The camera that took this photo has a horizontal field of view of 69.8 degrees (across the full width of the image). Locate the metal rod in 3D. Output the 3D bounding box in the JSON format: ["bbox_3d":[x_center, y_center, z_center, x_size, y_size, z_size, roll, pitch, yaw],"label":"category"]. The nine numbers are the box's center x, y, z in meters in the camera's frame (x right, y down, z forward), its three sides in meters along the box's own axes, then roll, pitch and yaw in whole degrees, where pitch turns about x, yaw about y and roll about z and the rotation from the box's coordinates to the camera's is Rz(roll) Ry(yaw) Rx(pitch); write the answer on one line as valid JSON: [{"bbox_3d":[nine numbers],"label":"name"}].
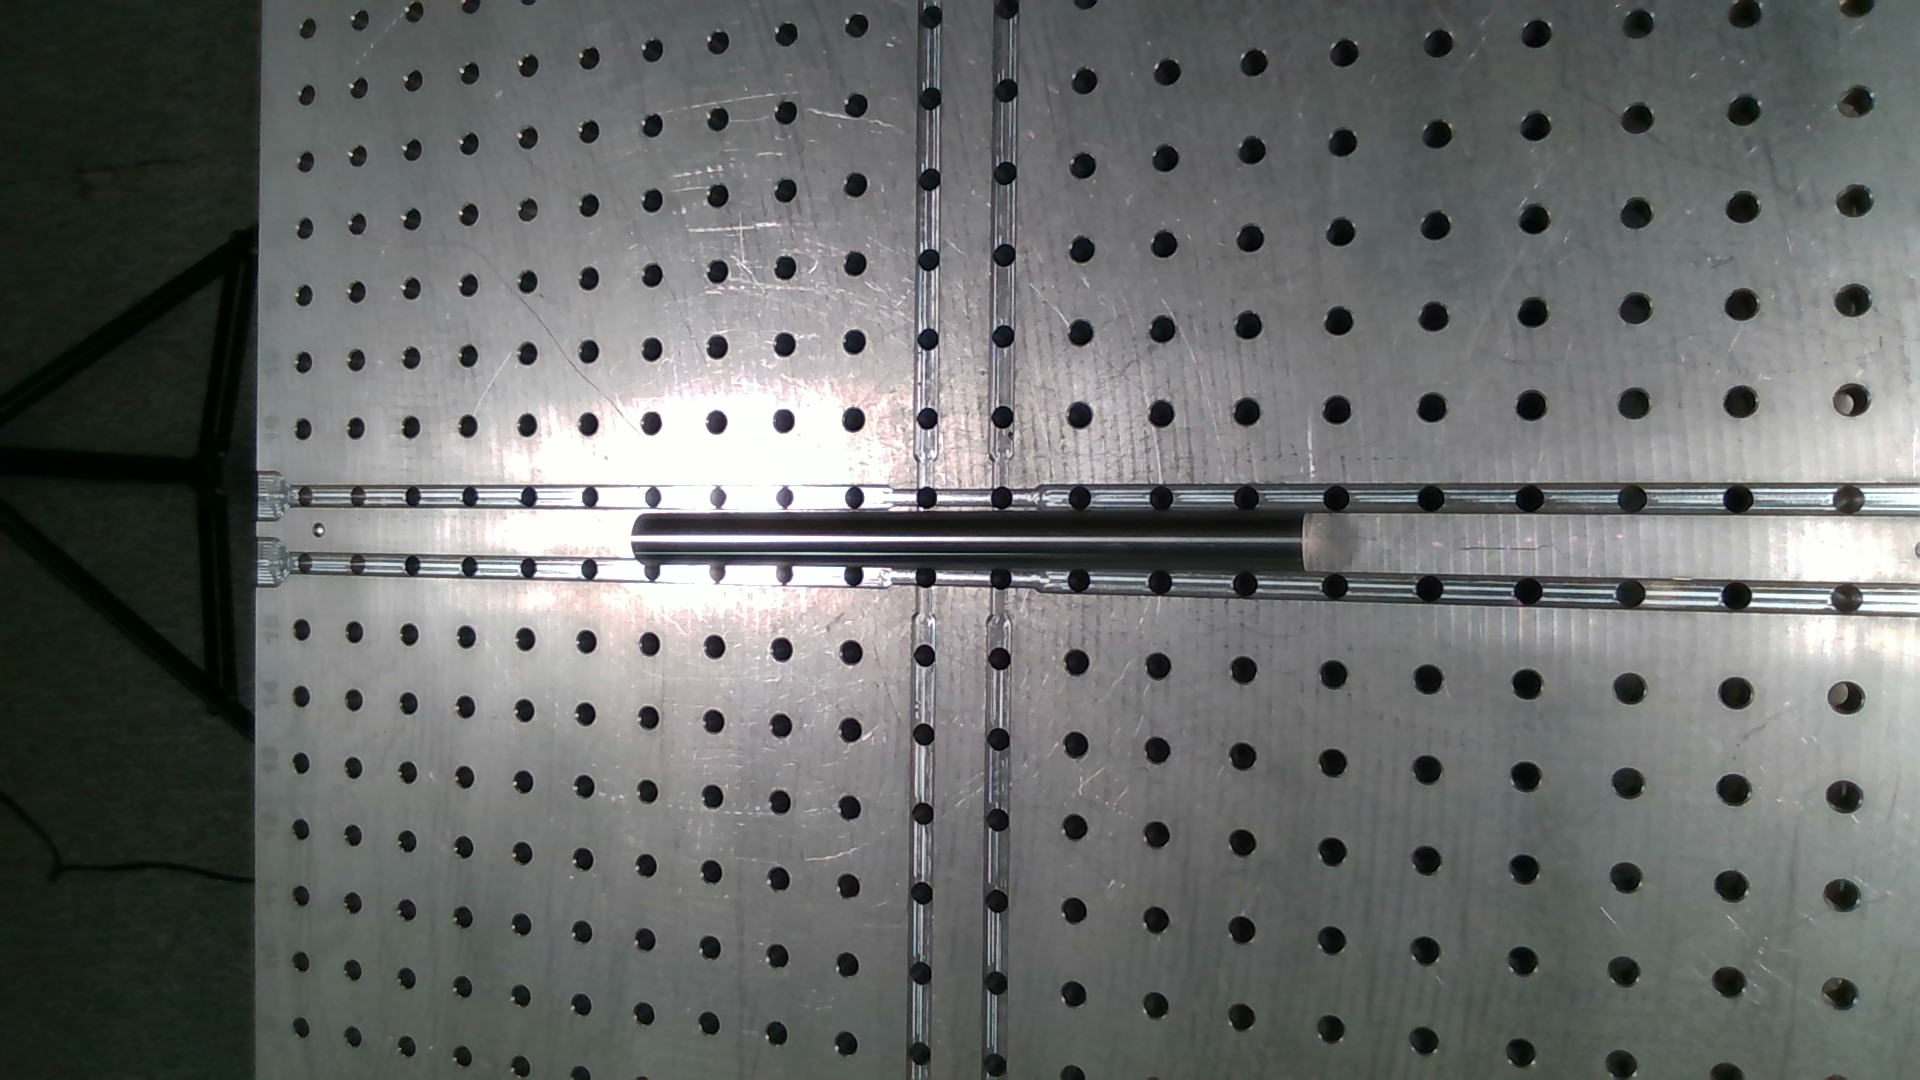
[{"bbox_3d":[-0.006,0.000,0.590,0.300,0.025,0.025,0,90,20],"label":"metal rod"}]
